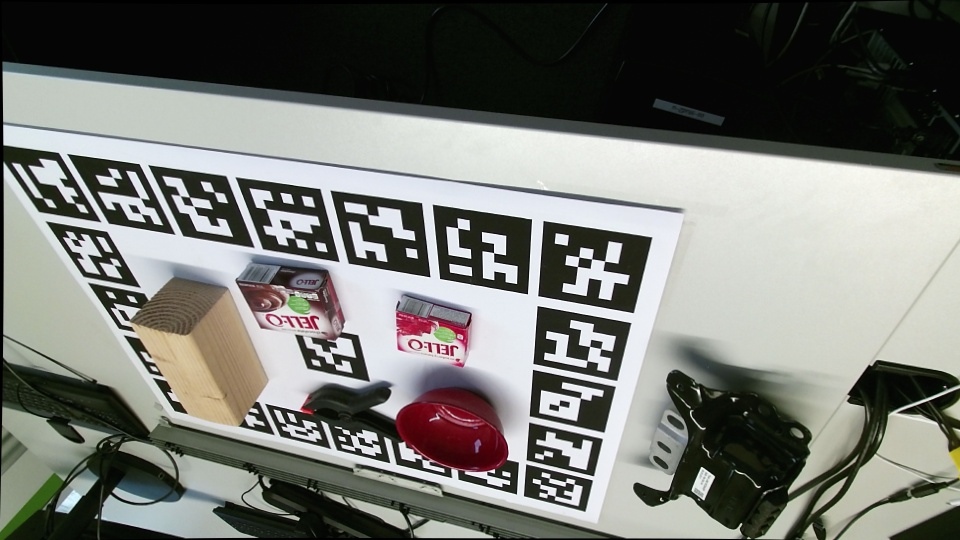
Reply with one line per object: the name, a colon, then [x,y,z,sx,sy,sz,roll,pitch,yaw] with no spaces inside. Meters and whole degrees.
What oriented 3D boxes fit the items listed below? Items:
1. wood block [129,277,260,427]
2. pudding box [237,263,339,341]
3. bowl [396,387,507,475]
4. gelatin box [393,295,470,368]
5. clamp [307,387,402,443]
wood block: [-0.400,0.122,0.761,0.090,0.090,0.206,12,131,11]
pudding box: [-0.241,0.040,0.674,0.114,0.038,0.090,7,126,11]
bowl: [-0.035,0.215,0.745,0.162,0.055,0.162,10,128,13]
gelatin box: [-0.060,0.076,0.645,0.089,0.030,0.073,15,130,7]
clamp: [-0.188,0.216,0.814,0.165,0.036,0.122,1,129,20]
